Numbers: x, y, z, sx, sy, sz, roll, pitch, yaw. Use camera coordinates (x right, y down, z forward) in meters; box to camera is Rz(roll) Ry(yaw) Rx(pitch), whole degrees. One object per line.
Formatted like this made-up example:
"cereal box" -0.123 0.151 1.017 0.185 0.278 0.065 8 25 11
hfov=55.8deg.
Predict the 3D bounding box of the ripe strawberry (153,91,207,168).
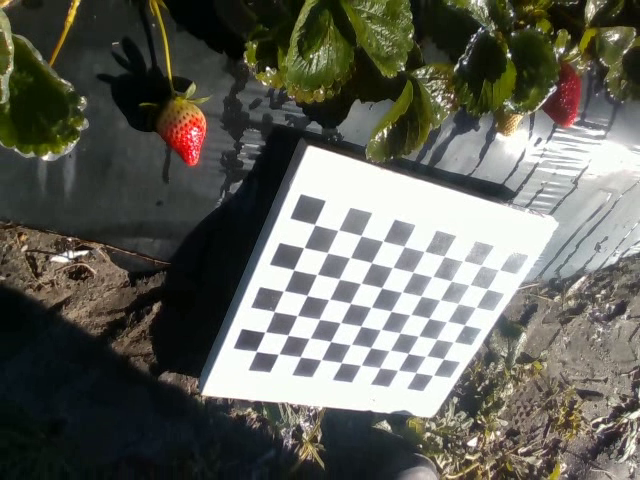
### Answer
"ripe strawberry" -0.096 -0.076 0.428 0.039 0.053 0.040 -7 16 -16
